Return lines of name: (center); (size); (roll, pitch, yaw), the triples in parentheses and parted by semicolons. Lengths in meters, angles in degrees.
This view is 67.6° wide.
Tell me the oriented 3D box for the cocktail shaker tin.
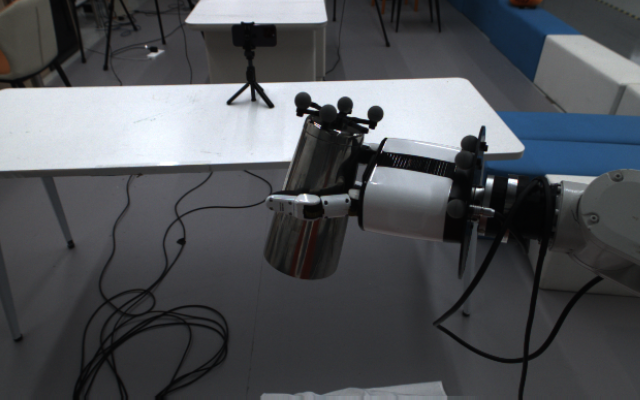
cocktail shaker tin: (-0.001, -0.007, 0.551); (0.093, 0.170, 0.093); (12, 24, -5)
